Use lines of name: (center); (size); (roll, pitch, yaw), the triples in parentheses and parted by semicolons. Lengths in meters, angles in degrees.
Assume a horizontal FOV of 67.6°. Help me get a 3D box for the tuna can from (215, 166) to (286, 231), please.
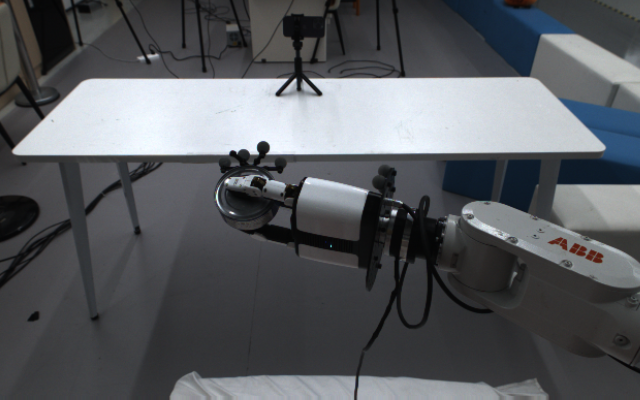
tuna can: (-0.093, -0.003, 0.653); (0.085, 0.034, 0.085); (-2, 57, 3)
